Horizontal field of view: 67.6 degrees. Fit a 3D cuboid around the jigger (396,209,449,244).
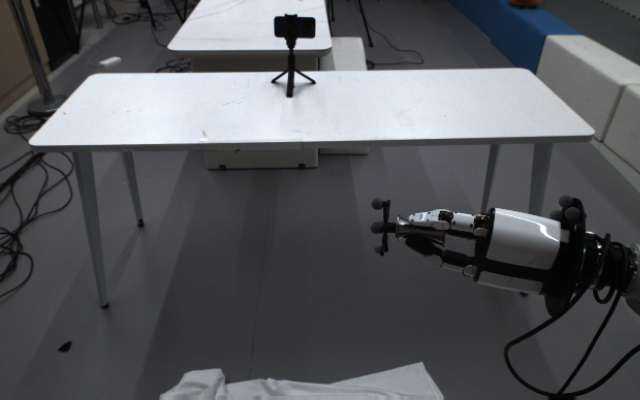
[{"bbox_3d":[0.153,0.039,0.699,0.071,0.043,0.043,3,34,15],"label":"jigger"}]
